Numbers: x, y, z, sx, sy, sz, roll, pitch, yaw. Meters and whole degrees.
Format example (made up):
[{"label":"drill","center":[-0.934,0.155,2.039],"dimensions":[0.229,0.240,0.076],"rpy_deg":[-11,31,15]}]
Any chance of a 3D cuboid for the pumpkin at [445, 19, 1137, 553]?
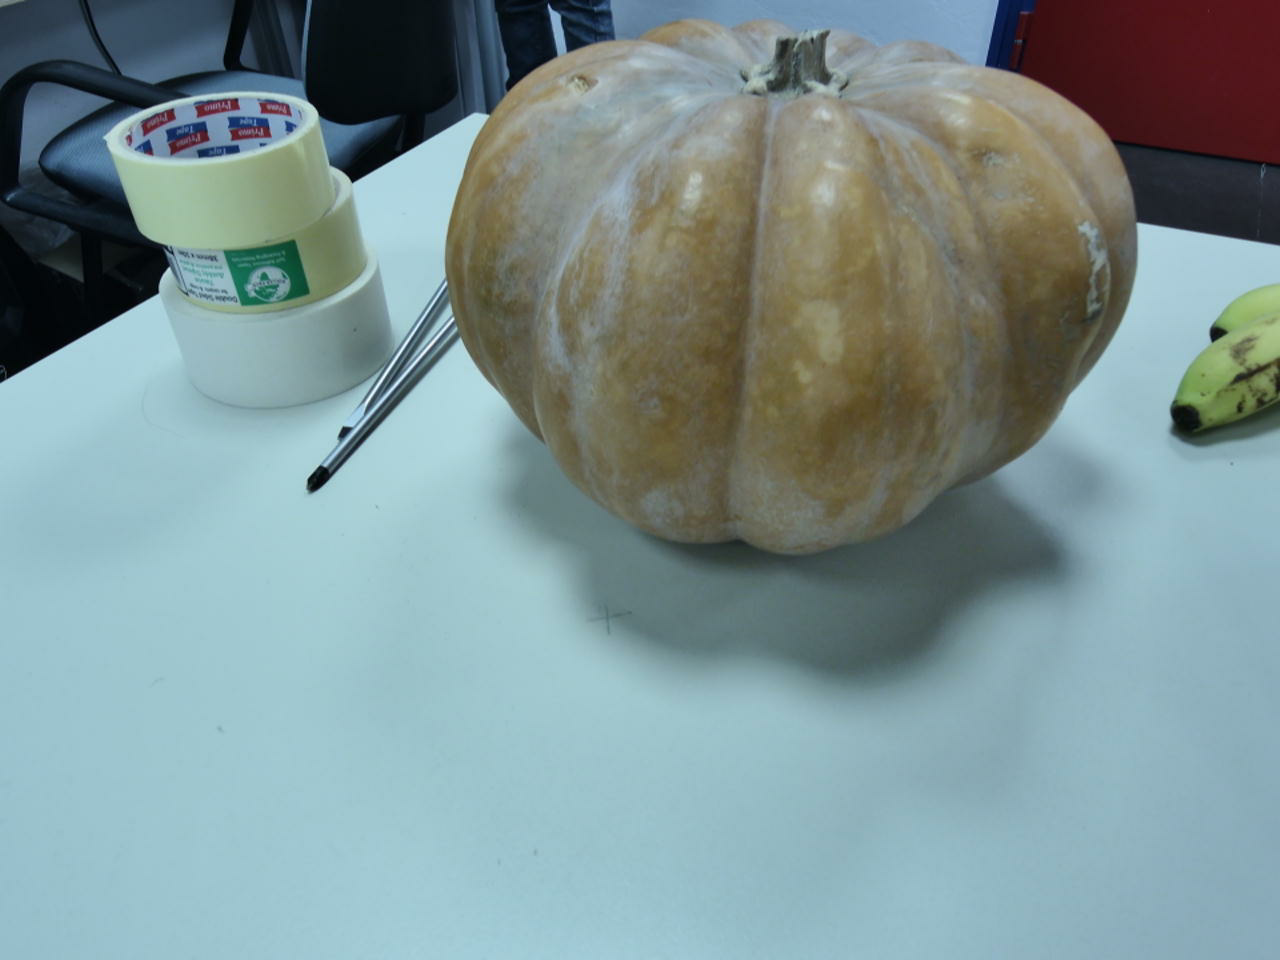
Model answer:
[{"label":"pumpkin","center":[0.053,-0.088,0.413],"dimensions":[0.277,0.181,0.277],"rpy_deg":[0,38,0]}]
